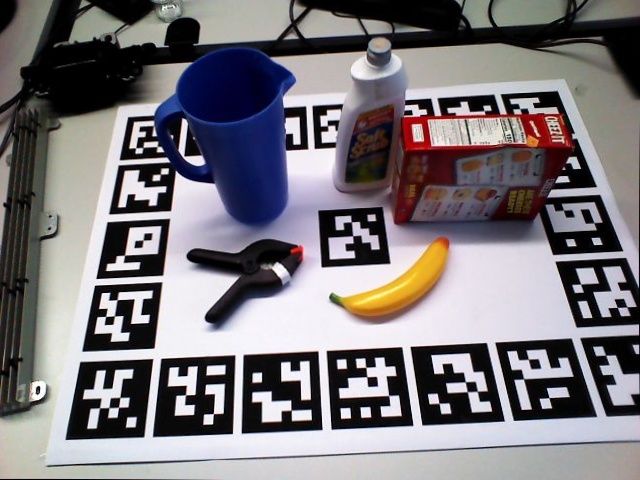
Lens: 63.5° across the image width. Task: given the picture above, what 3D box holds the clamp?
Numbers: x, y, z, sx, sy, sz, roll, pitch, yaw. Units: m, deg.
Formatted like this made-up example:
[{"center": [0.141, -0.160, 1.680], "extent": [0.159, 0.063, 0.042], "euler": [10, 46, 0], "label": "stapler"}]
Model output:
[{"center": [-0.092, 0.049, 0.742], "extent": [0.165, 0.037, 0.121], "euler": [-17, 56, -9], "label": "clamp"}]

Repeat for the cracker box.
[{"center": [0.231, -0.096, 0.723], "extent": [0.214, 0.165, 0.071], "euler": [-3, 54, 3], "label": "cracker box"}]

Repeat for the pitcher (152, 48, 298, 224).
[{"center": [-0.114, -0.128, 0.709], "extent": [0.188, 0.243, 0.133], "euler": [-18, 57, -12], "label": "pitcher"}]

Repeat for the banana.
[{"center": [0.130, 0.059, 0.730], "extent": [0.196, 0.039, 0.074], "euler": [-33, 61, -17], "label": "banana"}]

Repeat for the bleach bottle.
[{"center": [0.072, -0.163, 0.743], "extent": [0.103, 0.251, 0.067], "euler": [-4, 56, 1], "label": "bleach bottle"}]
